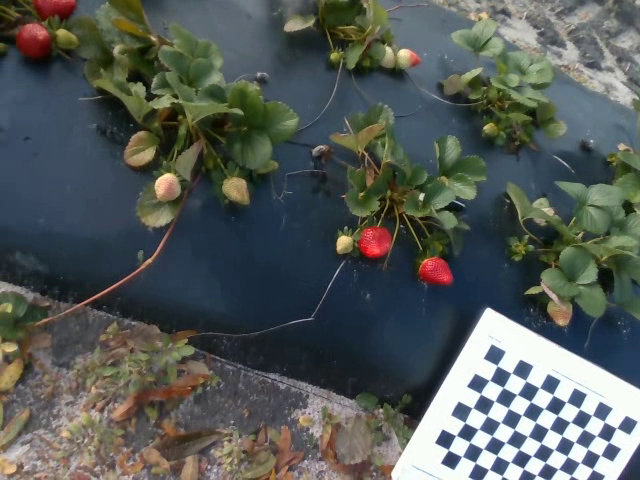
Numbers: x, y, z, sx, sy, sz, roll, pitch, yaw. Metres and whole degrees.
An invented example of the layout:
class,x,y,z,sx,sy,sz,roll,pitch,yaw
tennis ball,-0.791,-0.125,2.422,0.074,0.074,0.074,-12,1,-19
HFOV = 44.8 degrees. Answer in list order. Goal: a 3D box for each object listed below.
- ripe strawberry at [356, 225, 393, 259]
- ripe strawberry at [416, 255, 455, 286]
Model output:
class,x,y,z,sx,sy,sz,roll,pitch,yaw
ripe strawberry,0.059,0.000,0.731,0.035,0.041,0.036,13,31,-6
ripe strawberry,0.120,0.029,0.748,0.033,0.038,0.039,36,12,-31
